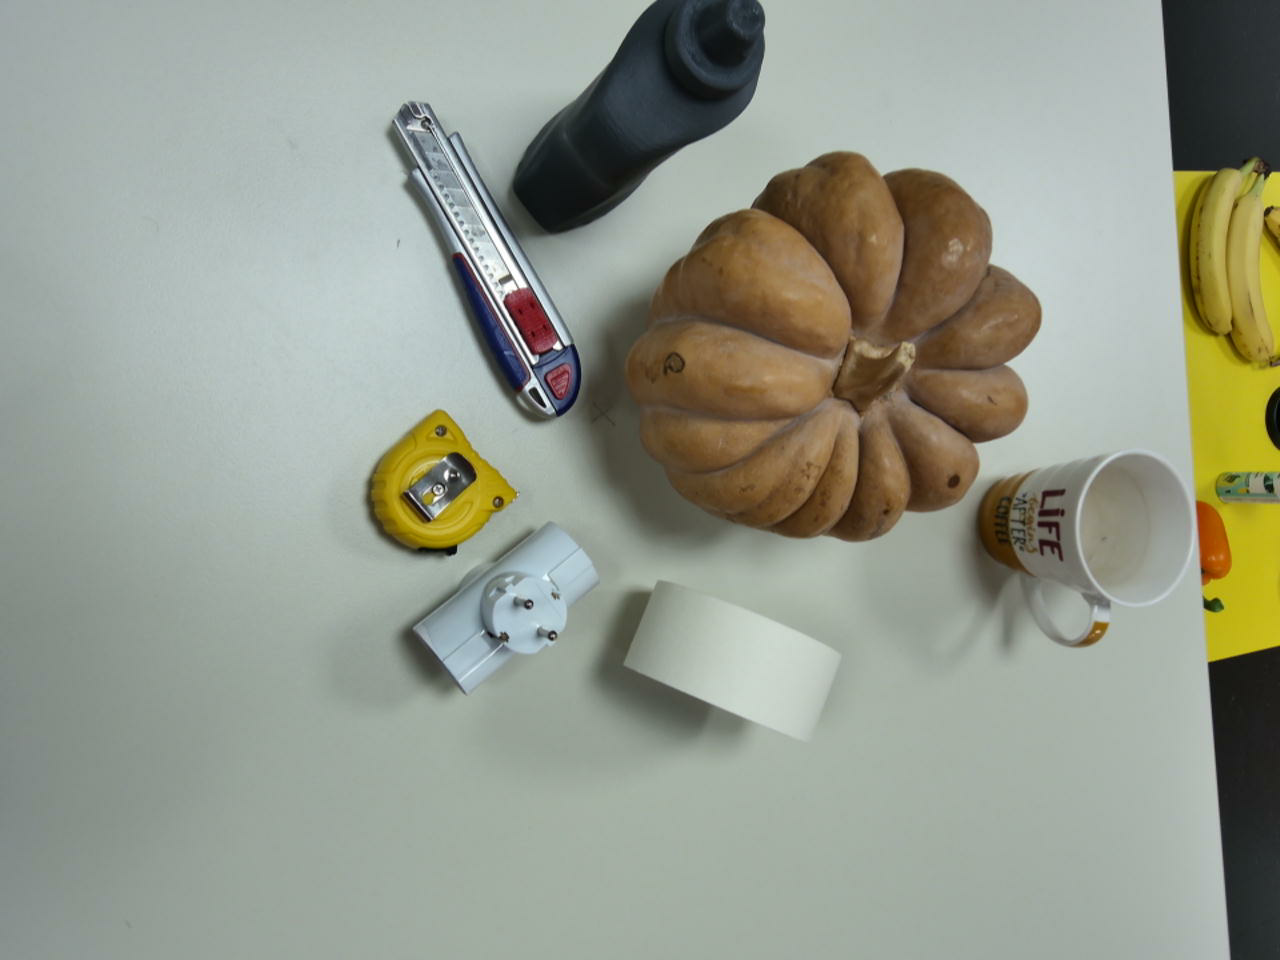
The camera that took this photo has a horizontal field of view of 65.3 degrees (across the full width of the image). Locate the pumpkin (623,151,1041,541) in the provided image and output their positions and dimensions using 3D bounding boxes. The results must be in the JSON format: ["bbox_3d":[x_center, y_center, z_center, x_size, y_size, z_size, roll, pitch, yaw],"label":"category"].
[{"bbox_3d":[0.091,-0.062,0.514,0.198,0.177,0.198,0,91,-22],"label":"pumpkin"}]
